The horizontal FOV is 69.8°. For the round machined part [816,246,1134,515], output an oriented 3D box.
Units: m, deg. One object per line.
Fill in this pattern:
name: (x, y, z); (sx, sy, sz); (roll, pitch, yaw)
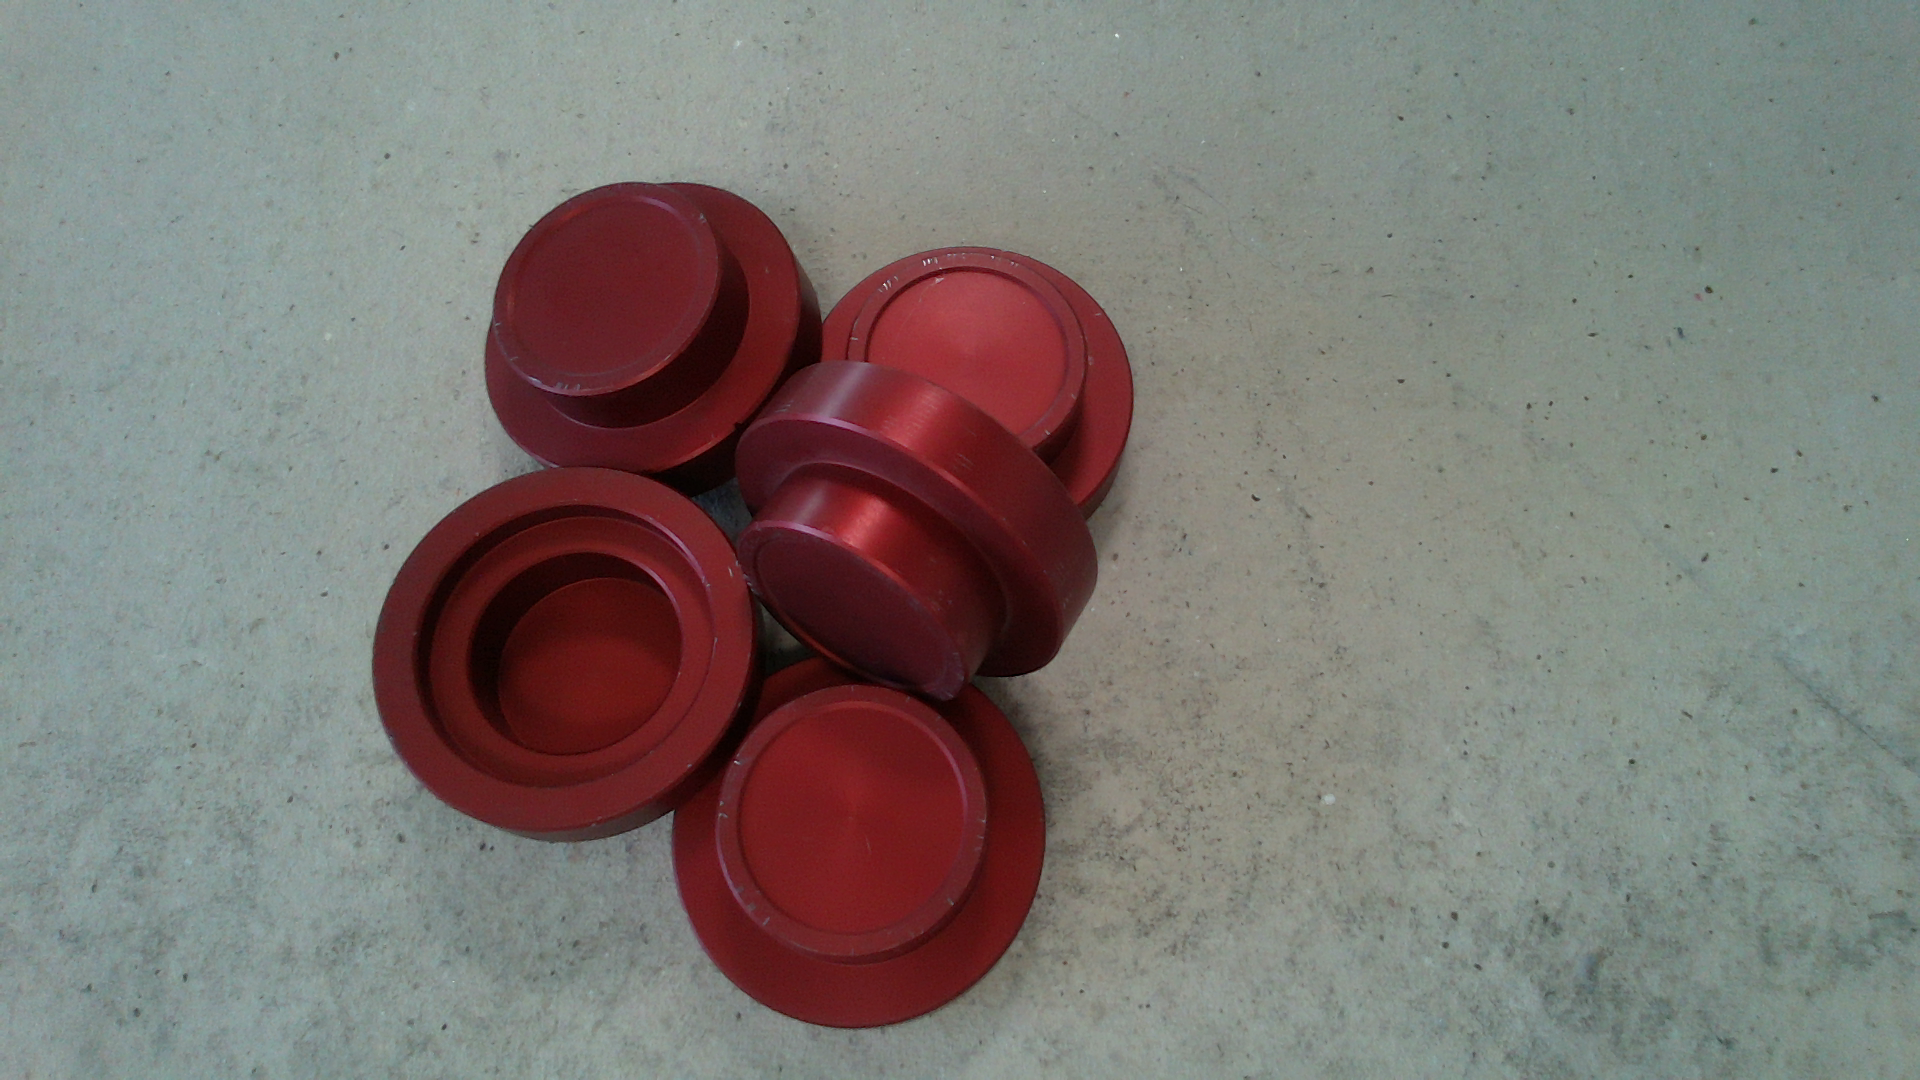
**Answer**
round machined part: (0.002, -0.045, 0.402); (0.098, 0.042, 0.098); (0, 69, -1)

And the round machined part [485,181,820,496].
round machined part: (-0.093, -0.063, 0.397); (0.098, 0.042, 0.098); (-5, 67, 12)

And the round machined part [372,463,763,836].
round machined part: (-0.102, 0.032, 0.374); (0.098, 0.042, 0.098); (0, 71, 0)

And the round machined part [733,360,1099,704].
round machined part: (-0.017, 0.005, 0.351); (0.098, 0.098, 0.042); (28, 59, 10)

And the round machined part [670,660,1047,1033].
round machined part: (-0.026, 0.075, 0.358); (0.098, 0.042, 0.098); (0, 68, -1)
